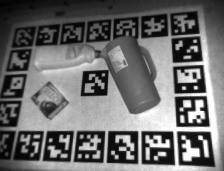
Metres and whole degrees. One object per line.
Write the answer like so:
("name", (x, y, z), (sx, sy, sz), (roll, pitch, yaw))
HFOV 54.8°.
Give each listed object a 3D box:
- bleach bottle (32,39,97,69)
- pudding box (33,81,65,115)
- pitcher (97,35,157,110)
("bleach bottle", (-0.184, -0.128, 0.837), (0.250, 0.068, 0.102), (-5, 75, 8))
("pudding box", (-0.245, 0.042, 0.800), (0.090, 0.039, 0.113), (-42, 70, -10))
("pitcher", (0.064, -0.046, 0.741), (0.191, 0.132, 0.241), (-15, 71, -30))
